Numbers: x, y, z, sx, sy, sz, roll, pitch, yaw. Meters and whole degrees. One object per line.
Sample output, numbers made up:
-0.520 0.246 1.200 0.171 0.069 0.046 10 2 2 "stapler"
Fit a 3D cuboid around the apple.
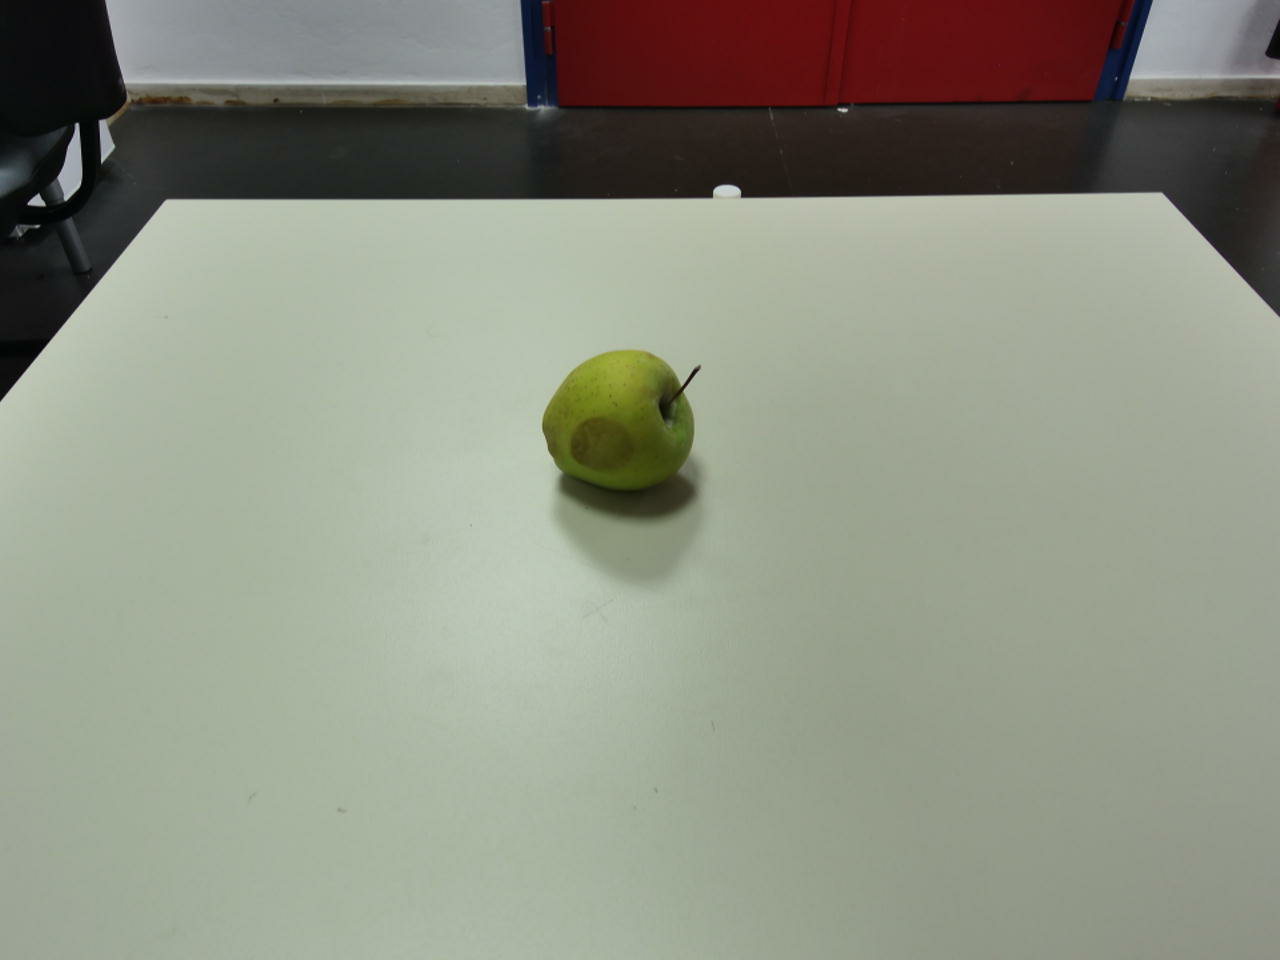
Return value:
-0.010 -0.033 0.524 0.077 0.075 0.072 32 48 33 "apple"
